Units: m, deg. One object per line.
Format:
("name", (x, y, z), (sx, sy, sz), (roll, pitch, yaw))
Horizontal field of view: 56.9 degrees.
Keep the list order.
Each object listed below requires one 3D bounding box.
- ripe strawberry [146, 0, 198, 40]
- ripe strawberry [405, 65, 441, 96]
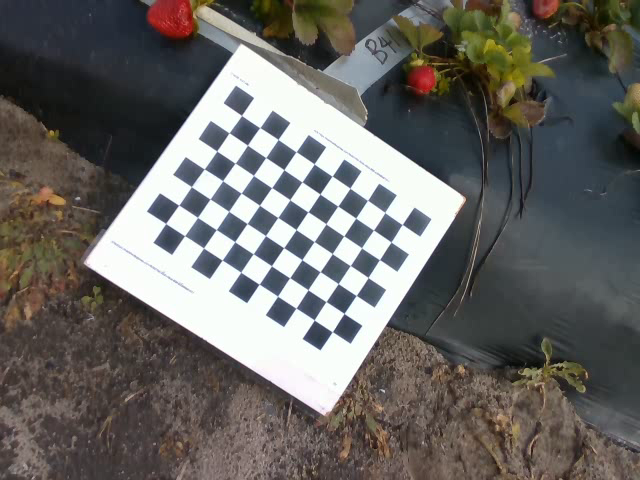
("ripe strawberry", (-0.142, -0.211, 0.552), (0.052, 0.048, 0.030), (-18, 0, -33))
("ripe strawberry", (0.110, -0.169, 0.626), (0.030, 0.038, 0.048), (-42, 2, 29))
